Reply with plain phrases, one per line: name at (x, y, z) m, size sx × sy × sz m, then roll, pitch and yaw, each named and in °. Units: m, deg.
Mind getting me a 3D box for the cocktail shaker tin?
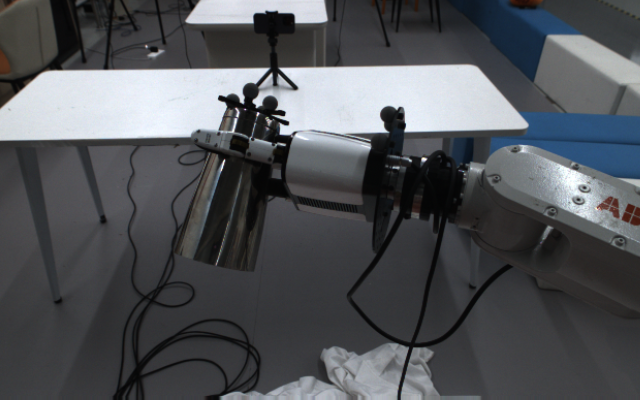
cocktail shaker tin at (-0.096, -0.015, 0.553) m, size 0.093 × 0.170 × 0.093 m, roll 15°, pitch -5°, yaw 1°
